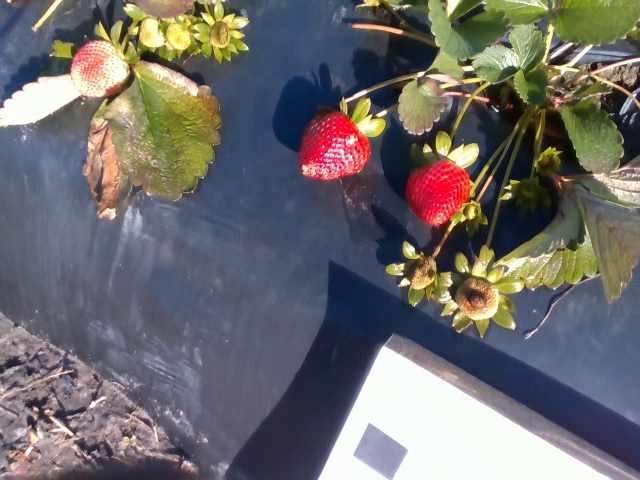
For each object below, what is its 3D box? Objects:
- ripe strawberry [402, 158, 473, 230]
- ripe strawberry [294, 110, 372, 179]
[{"bbox_3d":[0.066,-0.023,0.340,0.042,0.039,0.049,-16,35,32],"label":"ripe strawberry"},{"bbox_3d":[0.002,-0.053,0.358,0.050,0.050,0.045,-41,-9,-37],"label":"ripe strawberry"}]
